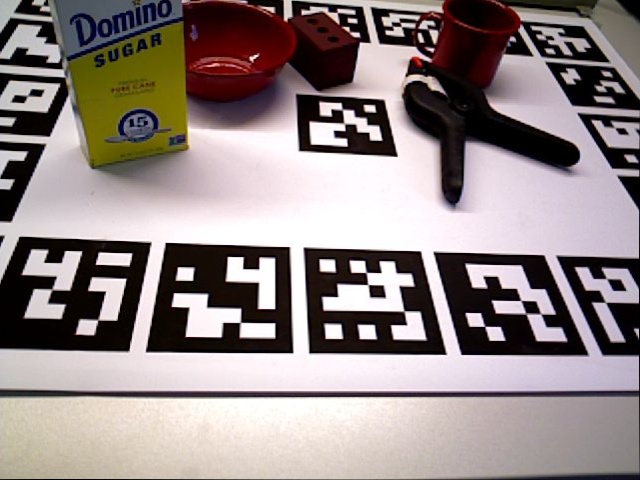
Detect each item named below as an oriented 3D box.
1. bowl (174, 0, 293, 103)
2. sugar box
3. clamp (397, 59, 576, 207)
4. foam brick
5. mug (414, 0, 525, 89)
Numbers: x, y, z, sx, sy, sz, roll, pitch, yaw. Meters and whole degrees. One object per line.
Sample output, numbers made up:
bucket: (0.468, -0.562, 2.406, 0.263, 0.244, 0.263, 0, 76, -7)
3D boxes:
bowl: (-0.112, -0.197, 0.581, 0.160, 0.056, 0.159, 5, 50, -7)
sugar box: (-0.165, -0.138, 0.442, 0.091, 0.181, 0.045, -18, 57, -25)
clamp: (0.143, -0.129, 0.571, 0.162, 0.037, 0.201, -19, 57, -21)
foam brick: (-0.001, -0.208, 0.620, 0.052, 0.052, 0.077, -22, 58, -24)
mug: (0.167, -0.237, 0.641, 0.117, 0.083, 0.091, 23, 50, 6)
